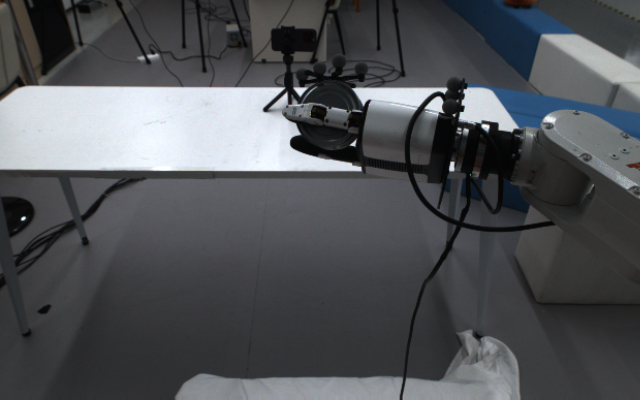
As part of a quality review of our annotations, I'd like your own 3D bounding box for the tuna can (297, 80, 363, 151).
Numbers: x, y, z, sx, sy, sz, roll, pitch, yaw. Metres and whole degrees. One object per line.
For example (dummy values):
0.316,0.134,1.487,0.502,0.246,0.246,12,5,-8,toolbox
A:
0.014,-0.108,0.623,0.085,0.085,0.034,16,0,19,tuna can
